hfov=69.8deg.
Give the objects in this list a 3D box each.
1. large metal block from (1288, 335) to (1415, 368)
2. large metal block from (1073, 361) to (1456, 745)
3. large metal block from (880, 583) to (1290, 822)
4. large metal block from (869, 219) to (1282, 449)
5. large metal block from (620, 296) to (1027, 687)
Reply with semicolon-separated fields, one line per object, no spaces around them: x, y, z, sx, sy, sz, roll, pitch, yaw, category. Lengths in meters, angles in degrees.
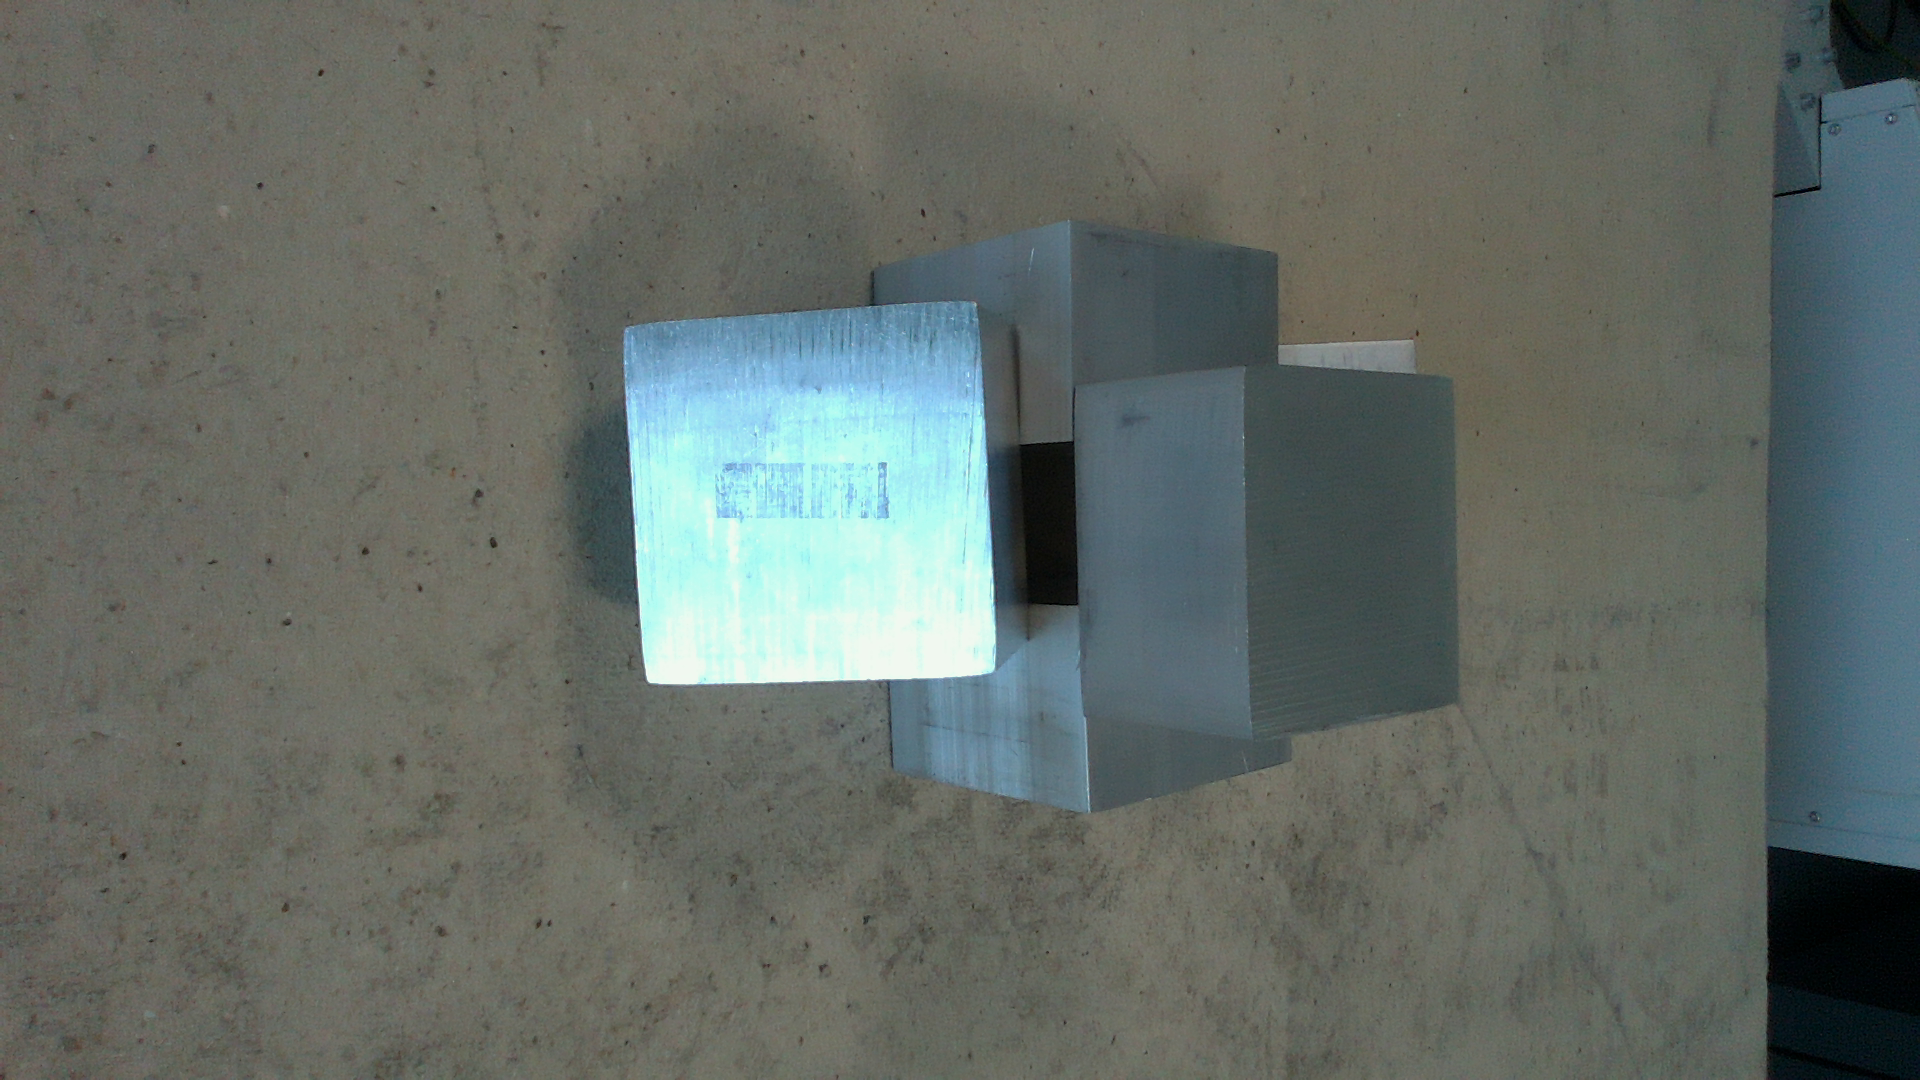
0.102;-0.018;0.428;0.050;0.080;0.080;-3;92;-5;large metal block
0.074;0.001;0.331;0.080;0.050;0.080;-3;92;-40;large metal block
0.033;0.040;0.383;0.080;0.080;0.050;-5;93;-39;large metal block
0.032;-0.052;0.380;0.080;0.080;0.050;-3;92;-40;large metal block
-0.029;-0.010;0.321;0.050;0.080;0.080;-14;101;-79;large metal block
